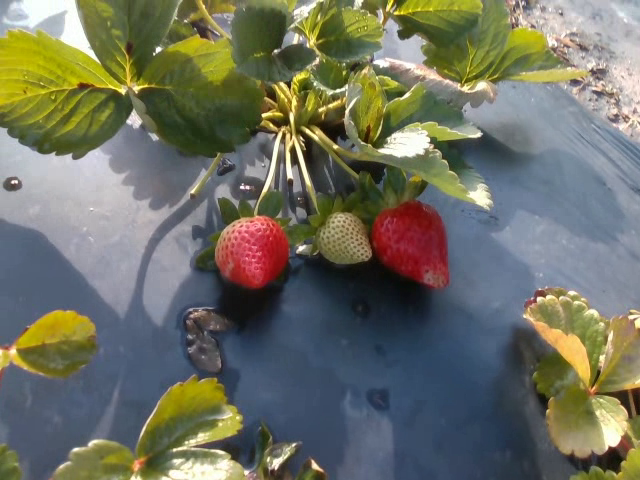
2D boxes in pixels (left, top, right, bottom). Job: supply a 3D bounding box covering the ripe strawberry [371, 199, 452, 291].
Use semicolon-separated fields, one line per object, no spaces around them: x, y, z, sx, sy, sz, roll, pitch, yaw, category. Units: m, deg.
0.056;0.005;0.350;0.048;0.065;0.050;-32;-25;18;ripe strawberry
